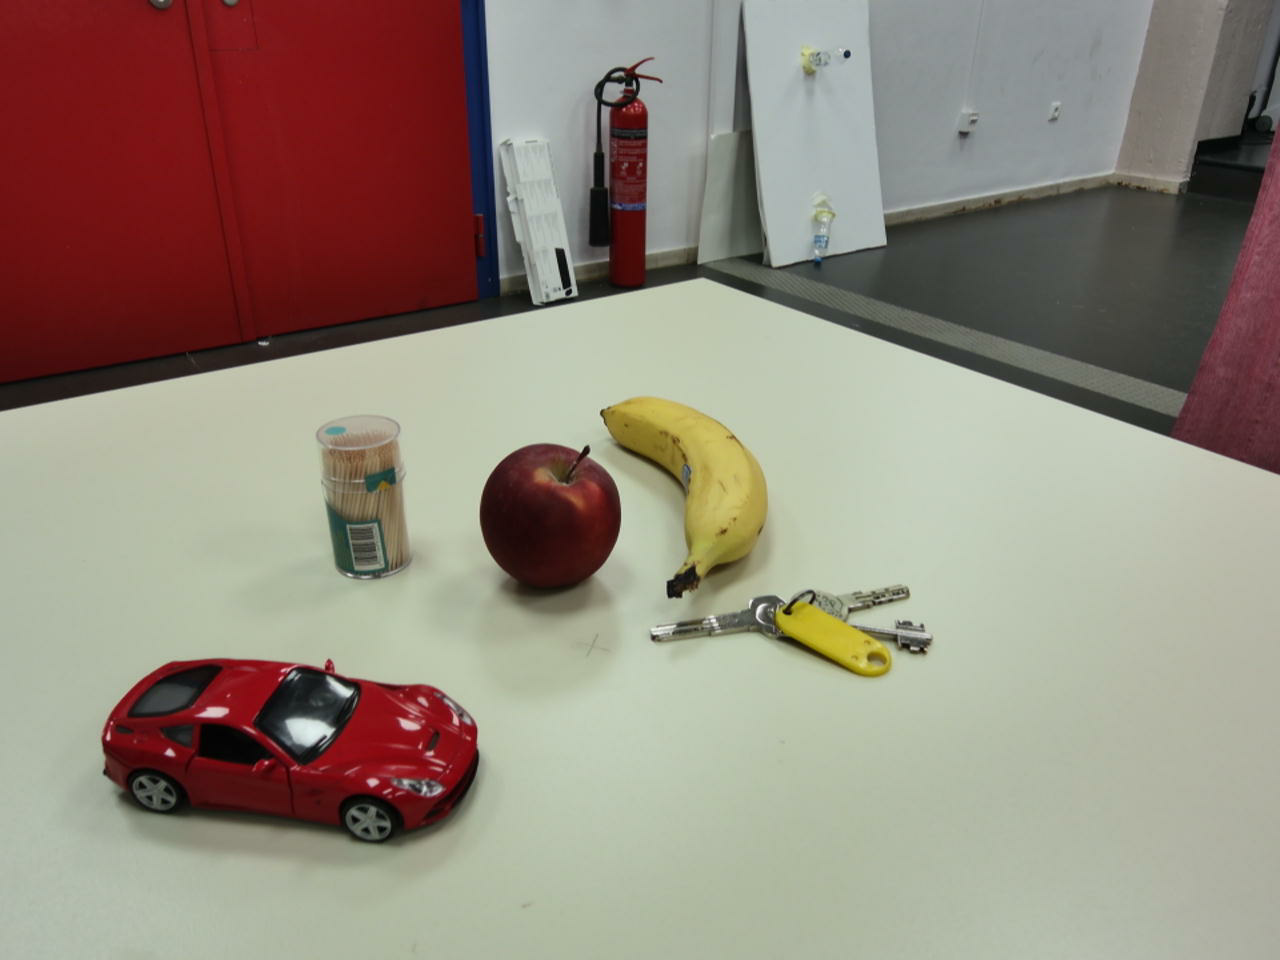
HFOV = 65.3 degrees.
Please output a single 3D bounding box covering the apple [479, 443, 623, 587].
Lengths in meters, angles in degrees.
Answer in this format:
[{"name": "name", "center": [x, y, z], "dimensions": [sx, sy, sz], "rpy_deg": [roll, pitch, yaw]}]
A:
[{"name": "apple", "center": [-0.044, 0.018, 0.492], "dimensions": [0.070, 0.072, 0.070], "rpy_deg": [0, 25, 0]}]
